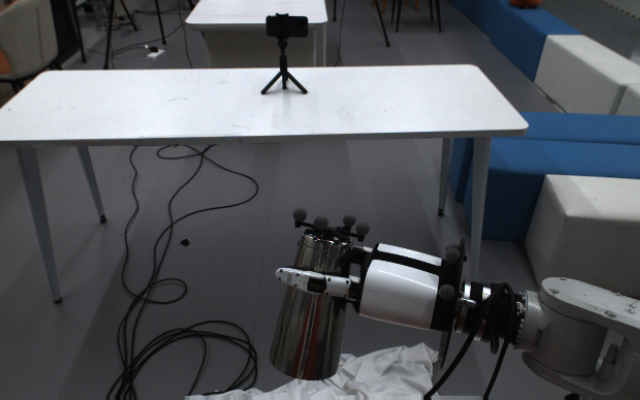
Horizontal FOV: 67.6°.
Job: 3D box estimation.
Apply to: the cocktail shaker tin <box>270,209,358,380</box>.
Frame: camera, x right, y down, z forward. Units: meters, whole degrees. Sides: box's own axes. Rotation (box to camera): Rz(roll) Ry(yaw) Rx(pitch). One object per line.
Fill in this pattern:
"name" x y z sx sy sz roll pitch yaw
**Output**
"cocktail shaker tin" -0.002 0.125 0.618 0.093 0.170 0.093 10 9 -2
